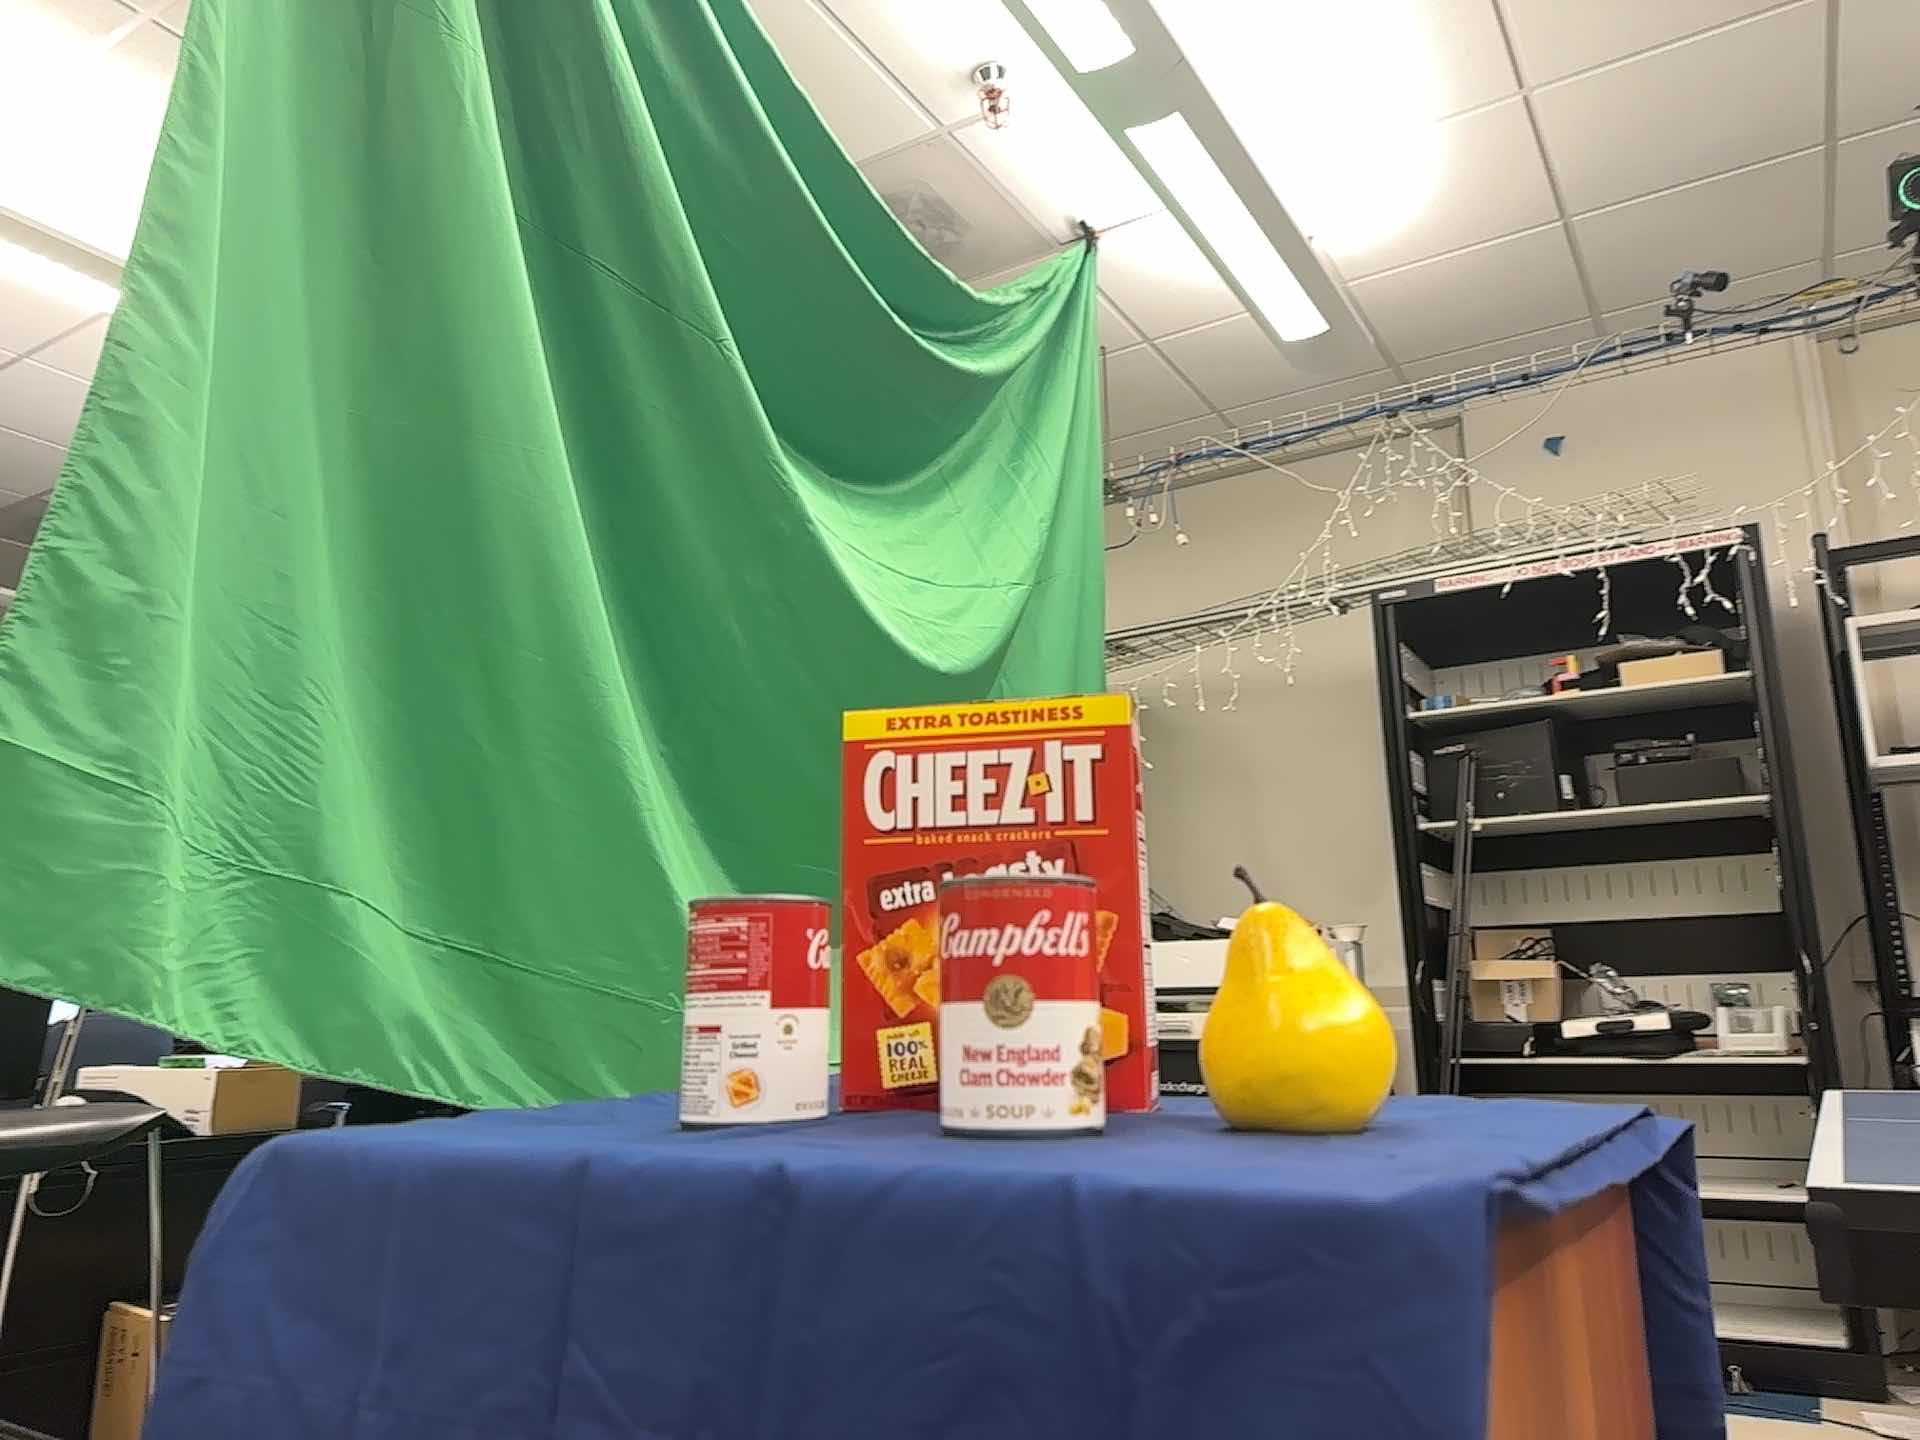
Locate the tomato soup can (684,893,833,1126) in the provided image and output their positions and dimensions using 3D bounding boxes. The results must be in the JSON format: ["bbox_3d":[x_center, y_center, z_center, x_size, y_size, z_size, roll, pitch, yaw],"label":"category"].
[{"bbox_3d":[-0.094,0.134,0.624,0.067,0.102,0.067,0,-13,0],"label":"tomato soup can"}]

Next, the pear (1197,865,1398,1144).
[{"bbox_3d":[0.137,0.115,0.555,0.080,0.111,0.080,0,-10,0],"label":"pear"}]

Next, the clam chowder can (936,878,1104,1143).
[{"bbox_3d":[0.024,0.120,0.560,0.068,0.102,0.068,-1,-12,0],"label":"clam chowder can"}]

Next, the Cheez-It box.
[{"bbox_3d":[0.022,0.102,0.740,0.159,0.214,0.062,-4,-11,13],"label":"Cheez-It box"}]
